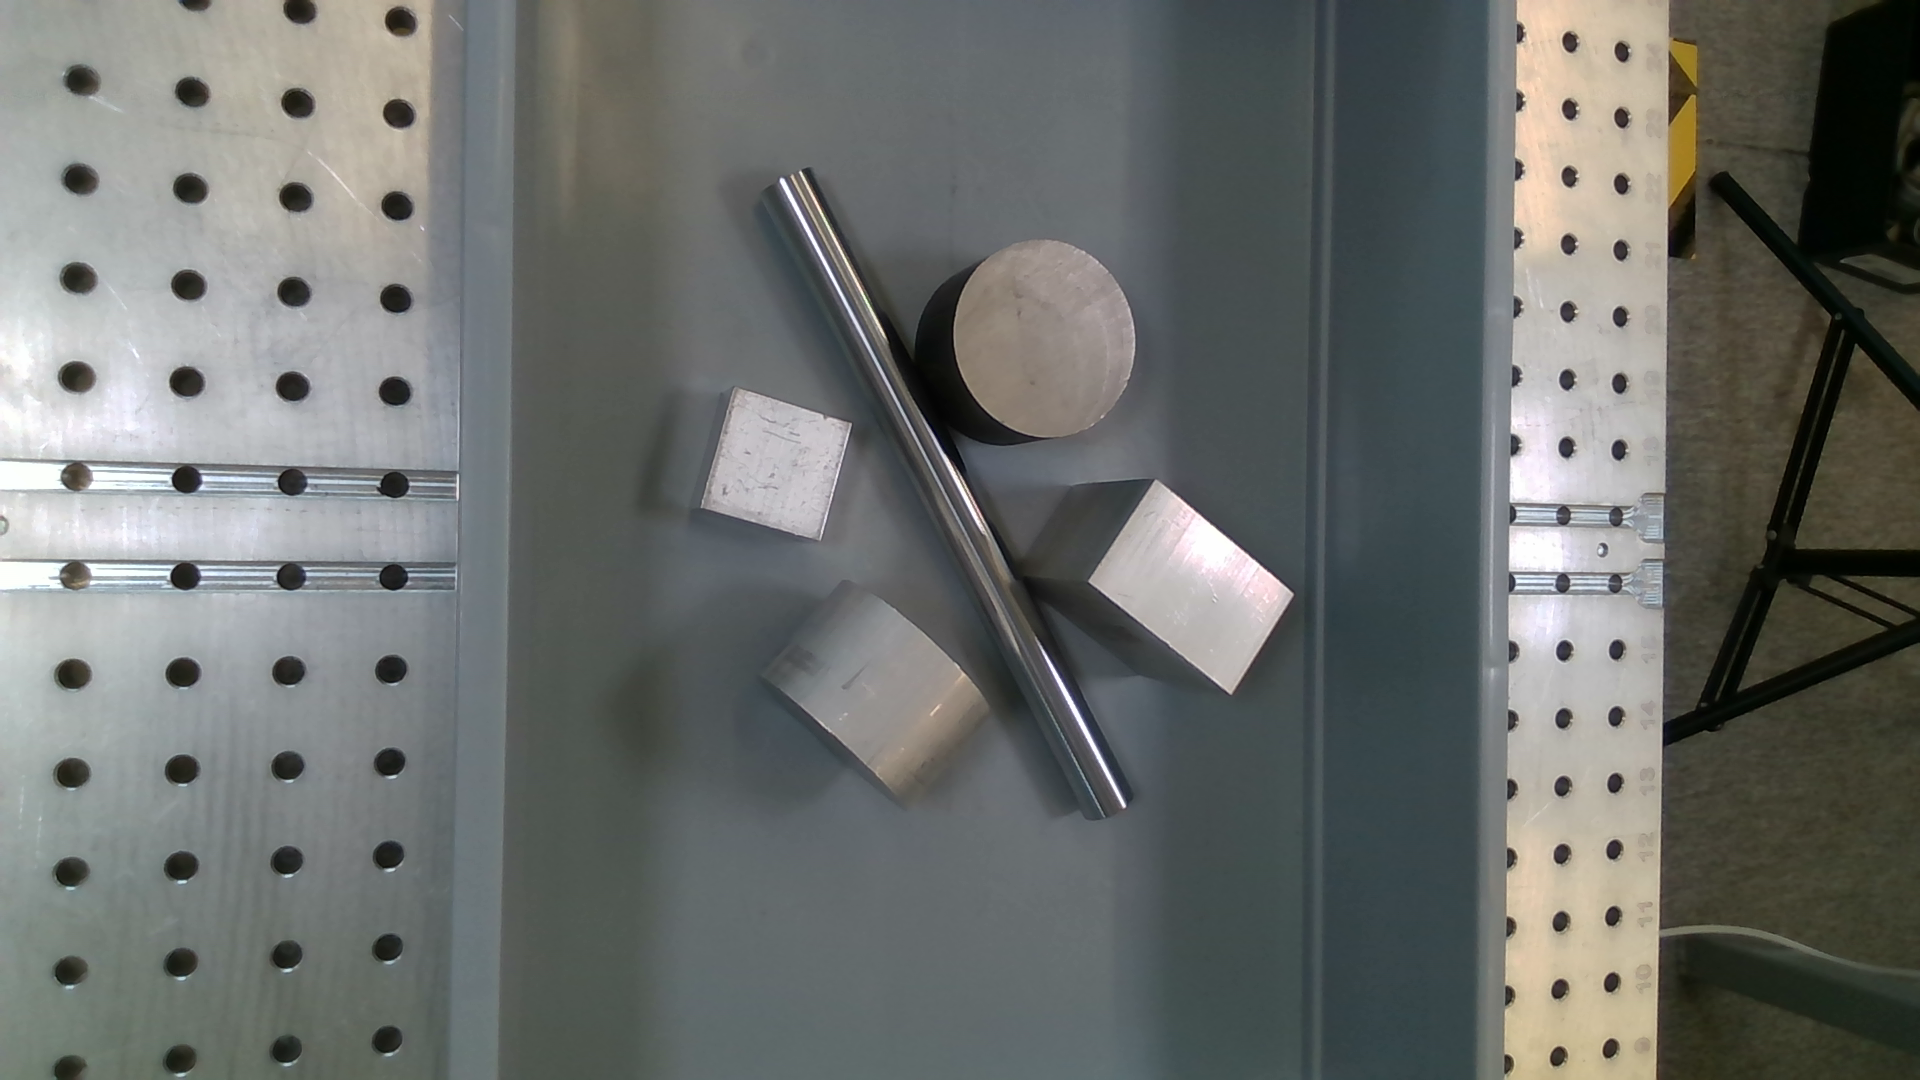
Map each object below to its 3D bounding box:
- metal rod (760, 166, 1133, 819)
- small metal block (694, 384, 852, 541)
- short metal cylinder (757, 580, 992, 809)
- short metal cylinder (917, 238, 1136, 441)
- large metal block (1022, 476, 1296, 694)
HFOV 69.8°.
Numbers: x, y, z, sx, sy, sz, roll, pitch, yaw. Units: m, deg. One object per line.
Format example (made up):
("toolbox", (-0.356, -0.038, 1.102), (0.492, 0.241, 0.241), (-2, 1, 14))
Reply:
("metal rod", (-0.002, -0.015, 0.584), (0.025, 0.025, 0.300), (-31, 100, -18))
("small metal block", (-0.077, -0.030, 0.557), (0.050, 0.025, 0.050), (16, 85, -20))
("short metal cylinder", (-0.034, 0.061, 0.544), (0.080, 0.080, 0.050), (45, 76, -15))
("short metal cylinder", (0.027, -0.082, 0.581), (0.080, 0.050, 0.080), (0, 90, -20))
("large metal block", (0.080, 0.018, 0.586), (0.080, 0.080, 0.050), (38, 78, -16))
